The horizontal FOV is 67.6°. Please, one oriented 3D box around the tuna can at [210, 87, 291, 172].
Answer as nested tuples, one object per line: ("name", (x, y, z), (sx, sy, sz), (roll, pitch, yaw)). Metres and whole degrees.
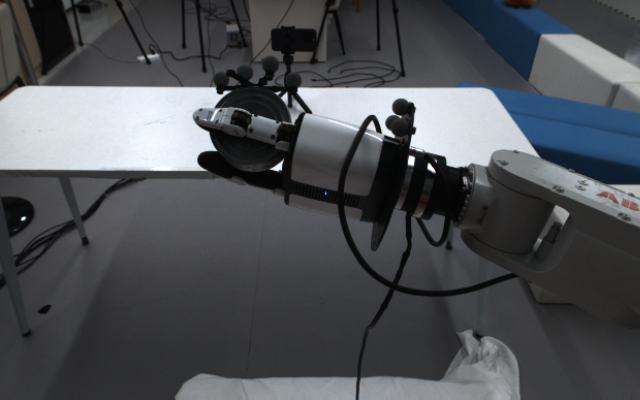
("tuna can", (-0.070, -0.074, 0.515), (0.085, 0.034, 0.085), (-1, 77, 4))
